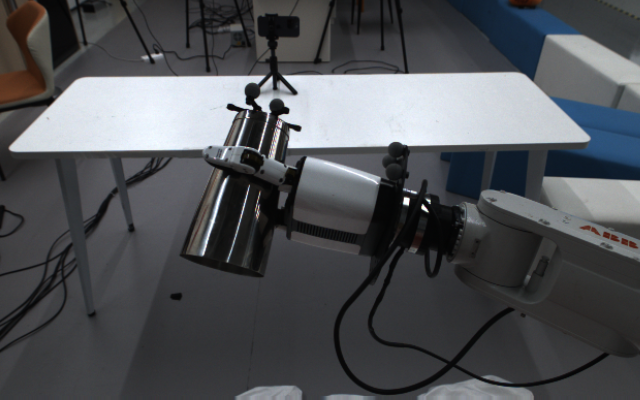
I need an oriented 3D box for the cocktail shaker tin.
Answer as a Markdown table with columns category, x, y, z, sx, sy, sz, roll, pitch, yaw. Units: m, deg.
| category | x | y | z | sx | sy | sz | roll | pitch | yaw |
| --- | --- | --- | --- | --- | --- | --- | --- | --- | --- |
| cocktail shaker tin | -0.085 | -0.007 | 0.535 | 0.093 | 0.093 | 0.170 | 10 | 73 | 12 |
